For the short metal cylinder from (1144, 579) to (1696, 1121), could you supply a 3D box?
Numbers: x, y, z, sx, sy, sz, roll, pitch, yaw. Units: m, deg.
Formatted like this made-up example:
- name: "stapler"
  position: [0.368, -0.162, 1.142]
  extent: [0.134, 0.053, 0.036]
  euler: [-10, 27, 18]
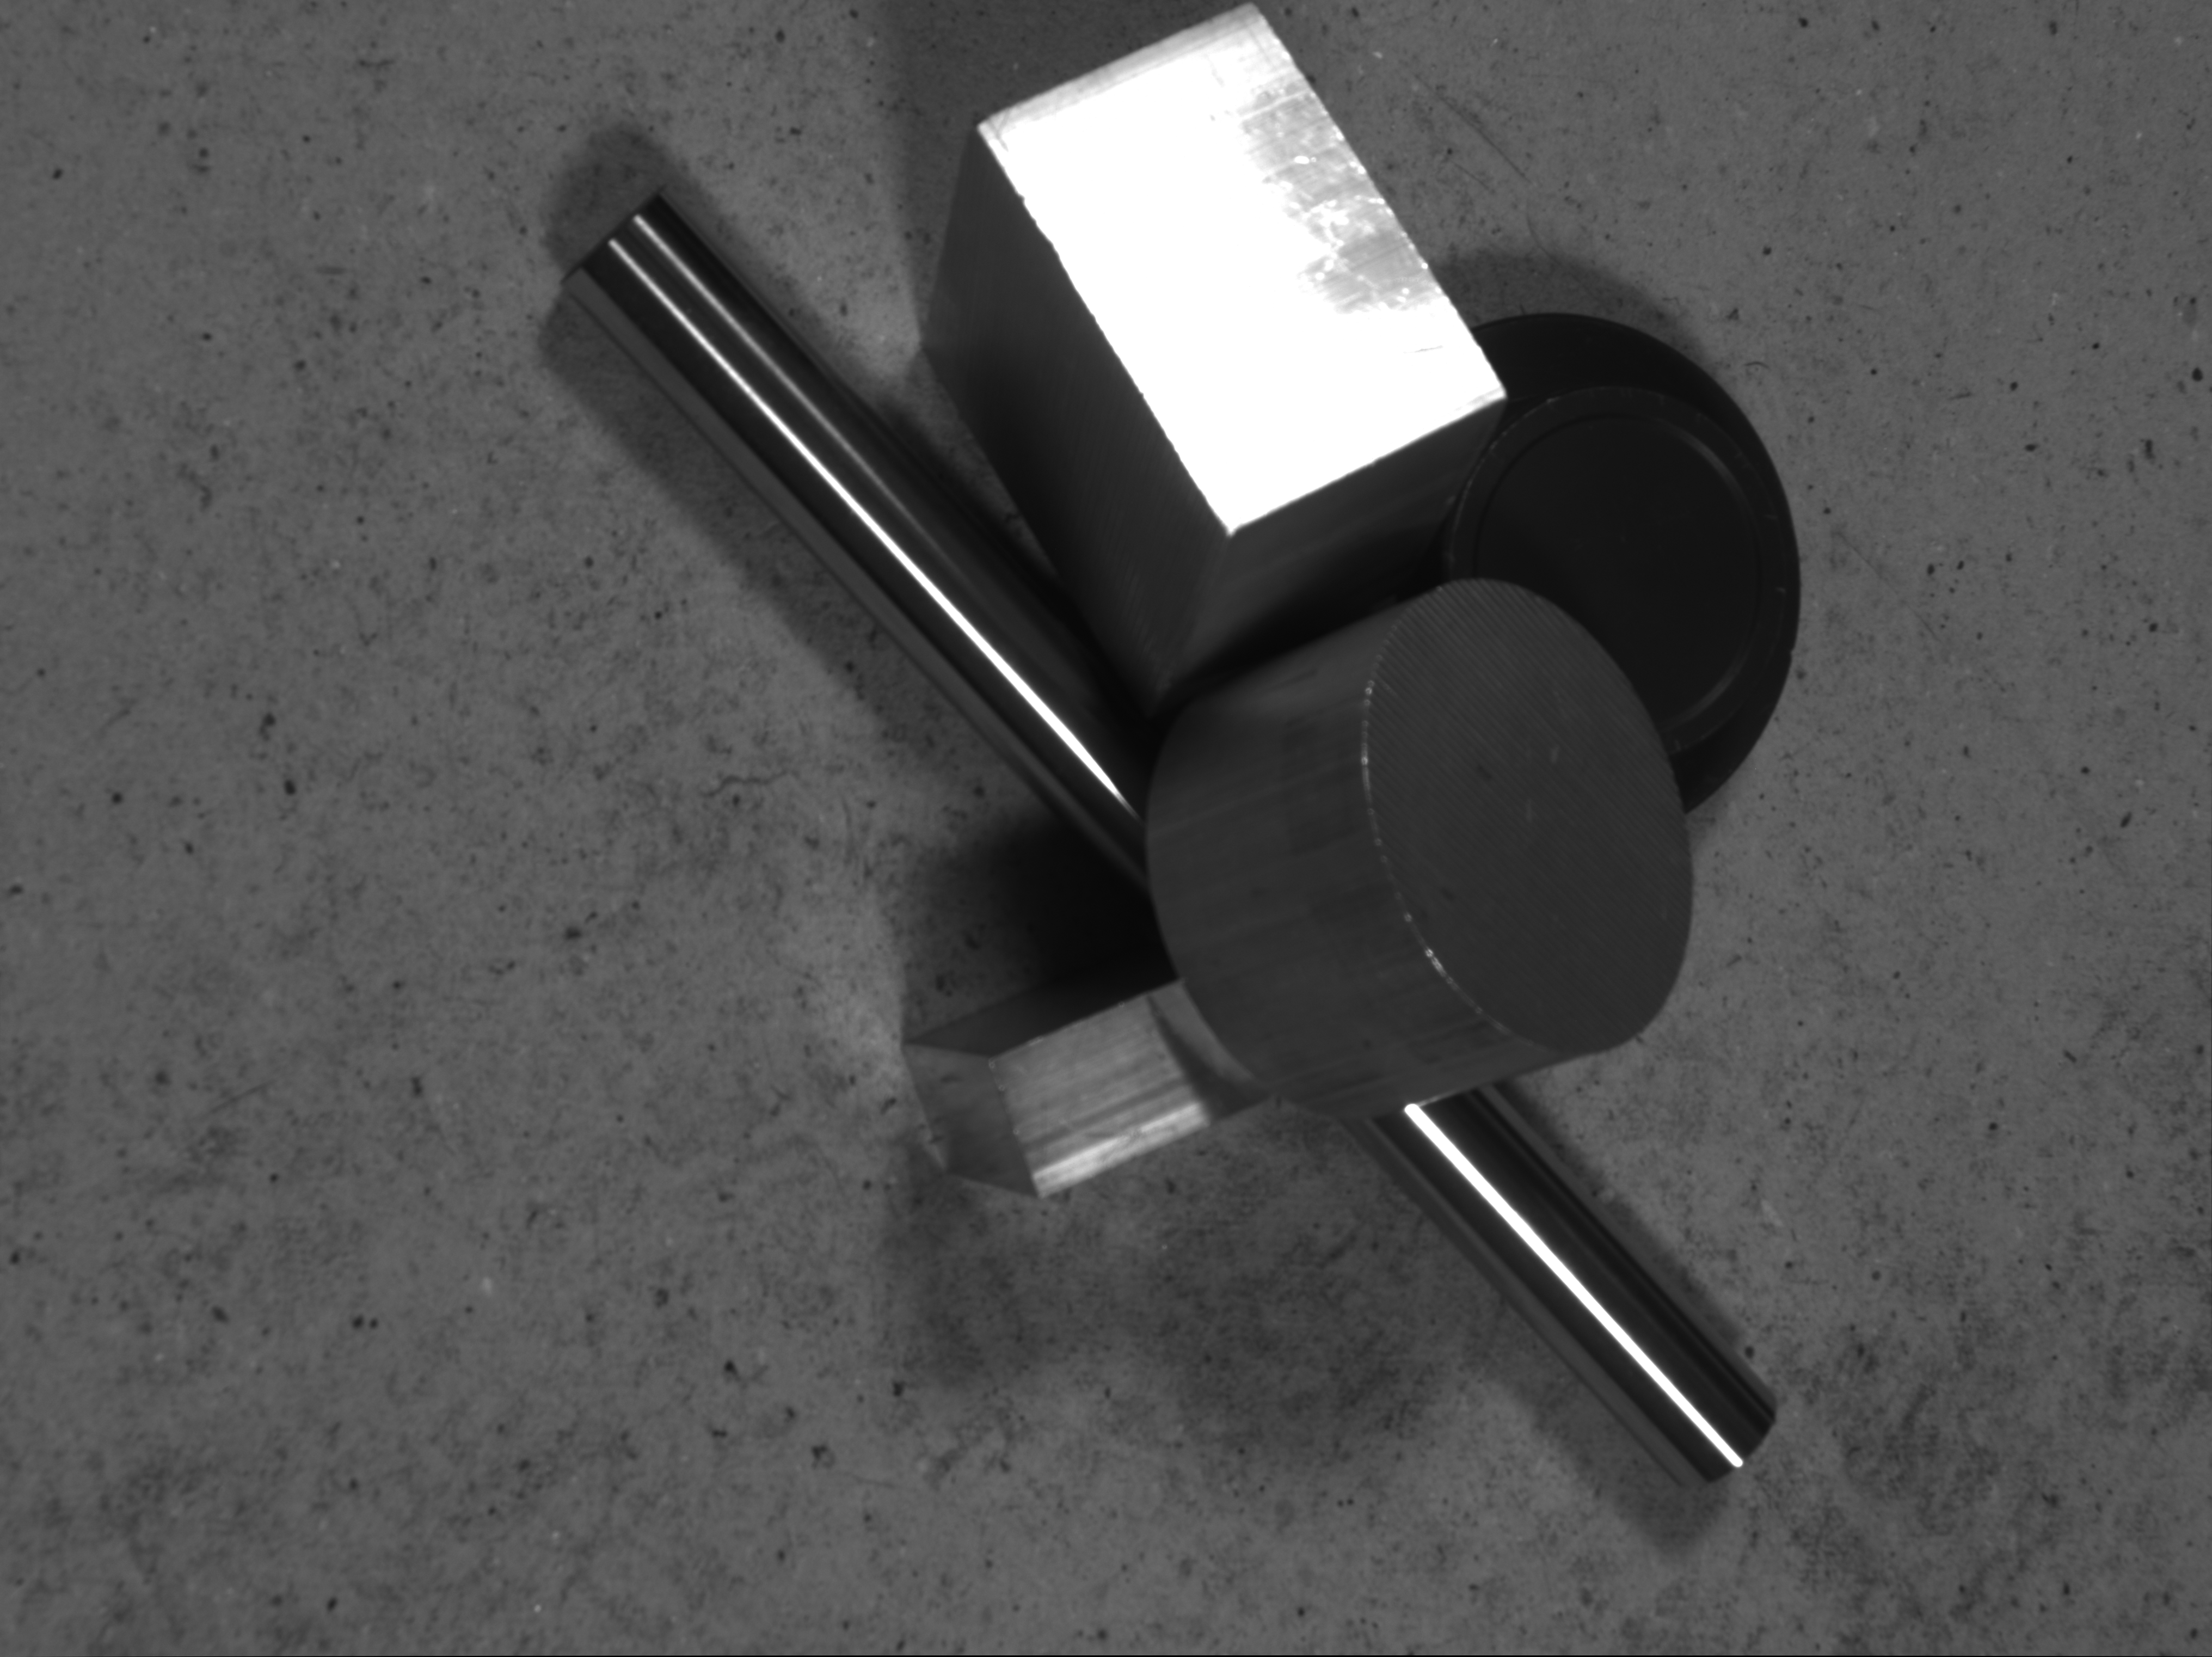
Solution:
- name: "short metal cylinder"
  position: [0.053, 0.004, 0.610]
  extent: [0.080, 0.050, 0.080]
  euler: [18, 63, -38]

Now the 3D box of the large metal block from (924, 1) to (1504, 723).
- name: "large metal block"
  position: [0.015, -0.076, 0.609]
  extent: [0.050, 0.080, 0.080]
  euler: [-27, 77, -16]

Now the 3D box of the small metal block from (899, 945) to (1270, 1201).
- name: "small metal block"
  position: [-0.002, 0.041, 0.630]
  extent: [0.050, 0.050, 0.025]
  euler: [-22, 97, -19]

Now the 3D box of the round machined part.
- name: "round machined part"
  position: [0.084, -0.044, 0.664]
  extent: [0.098, 0.042, 0.098]
  euler: [0, 90, -20]

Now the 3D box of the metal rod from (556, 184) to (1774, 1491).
- name: "metal rod"
  position: [0.016, 0.007, 0.650]
  extent: [0.025, 0.025, 0.300]
  euler: [-46, 104, -14]
